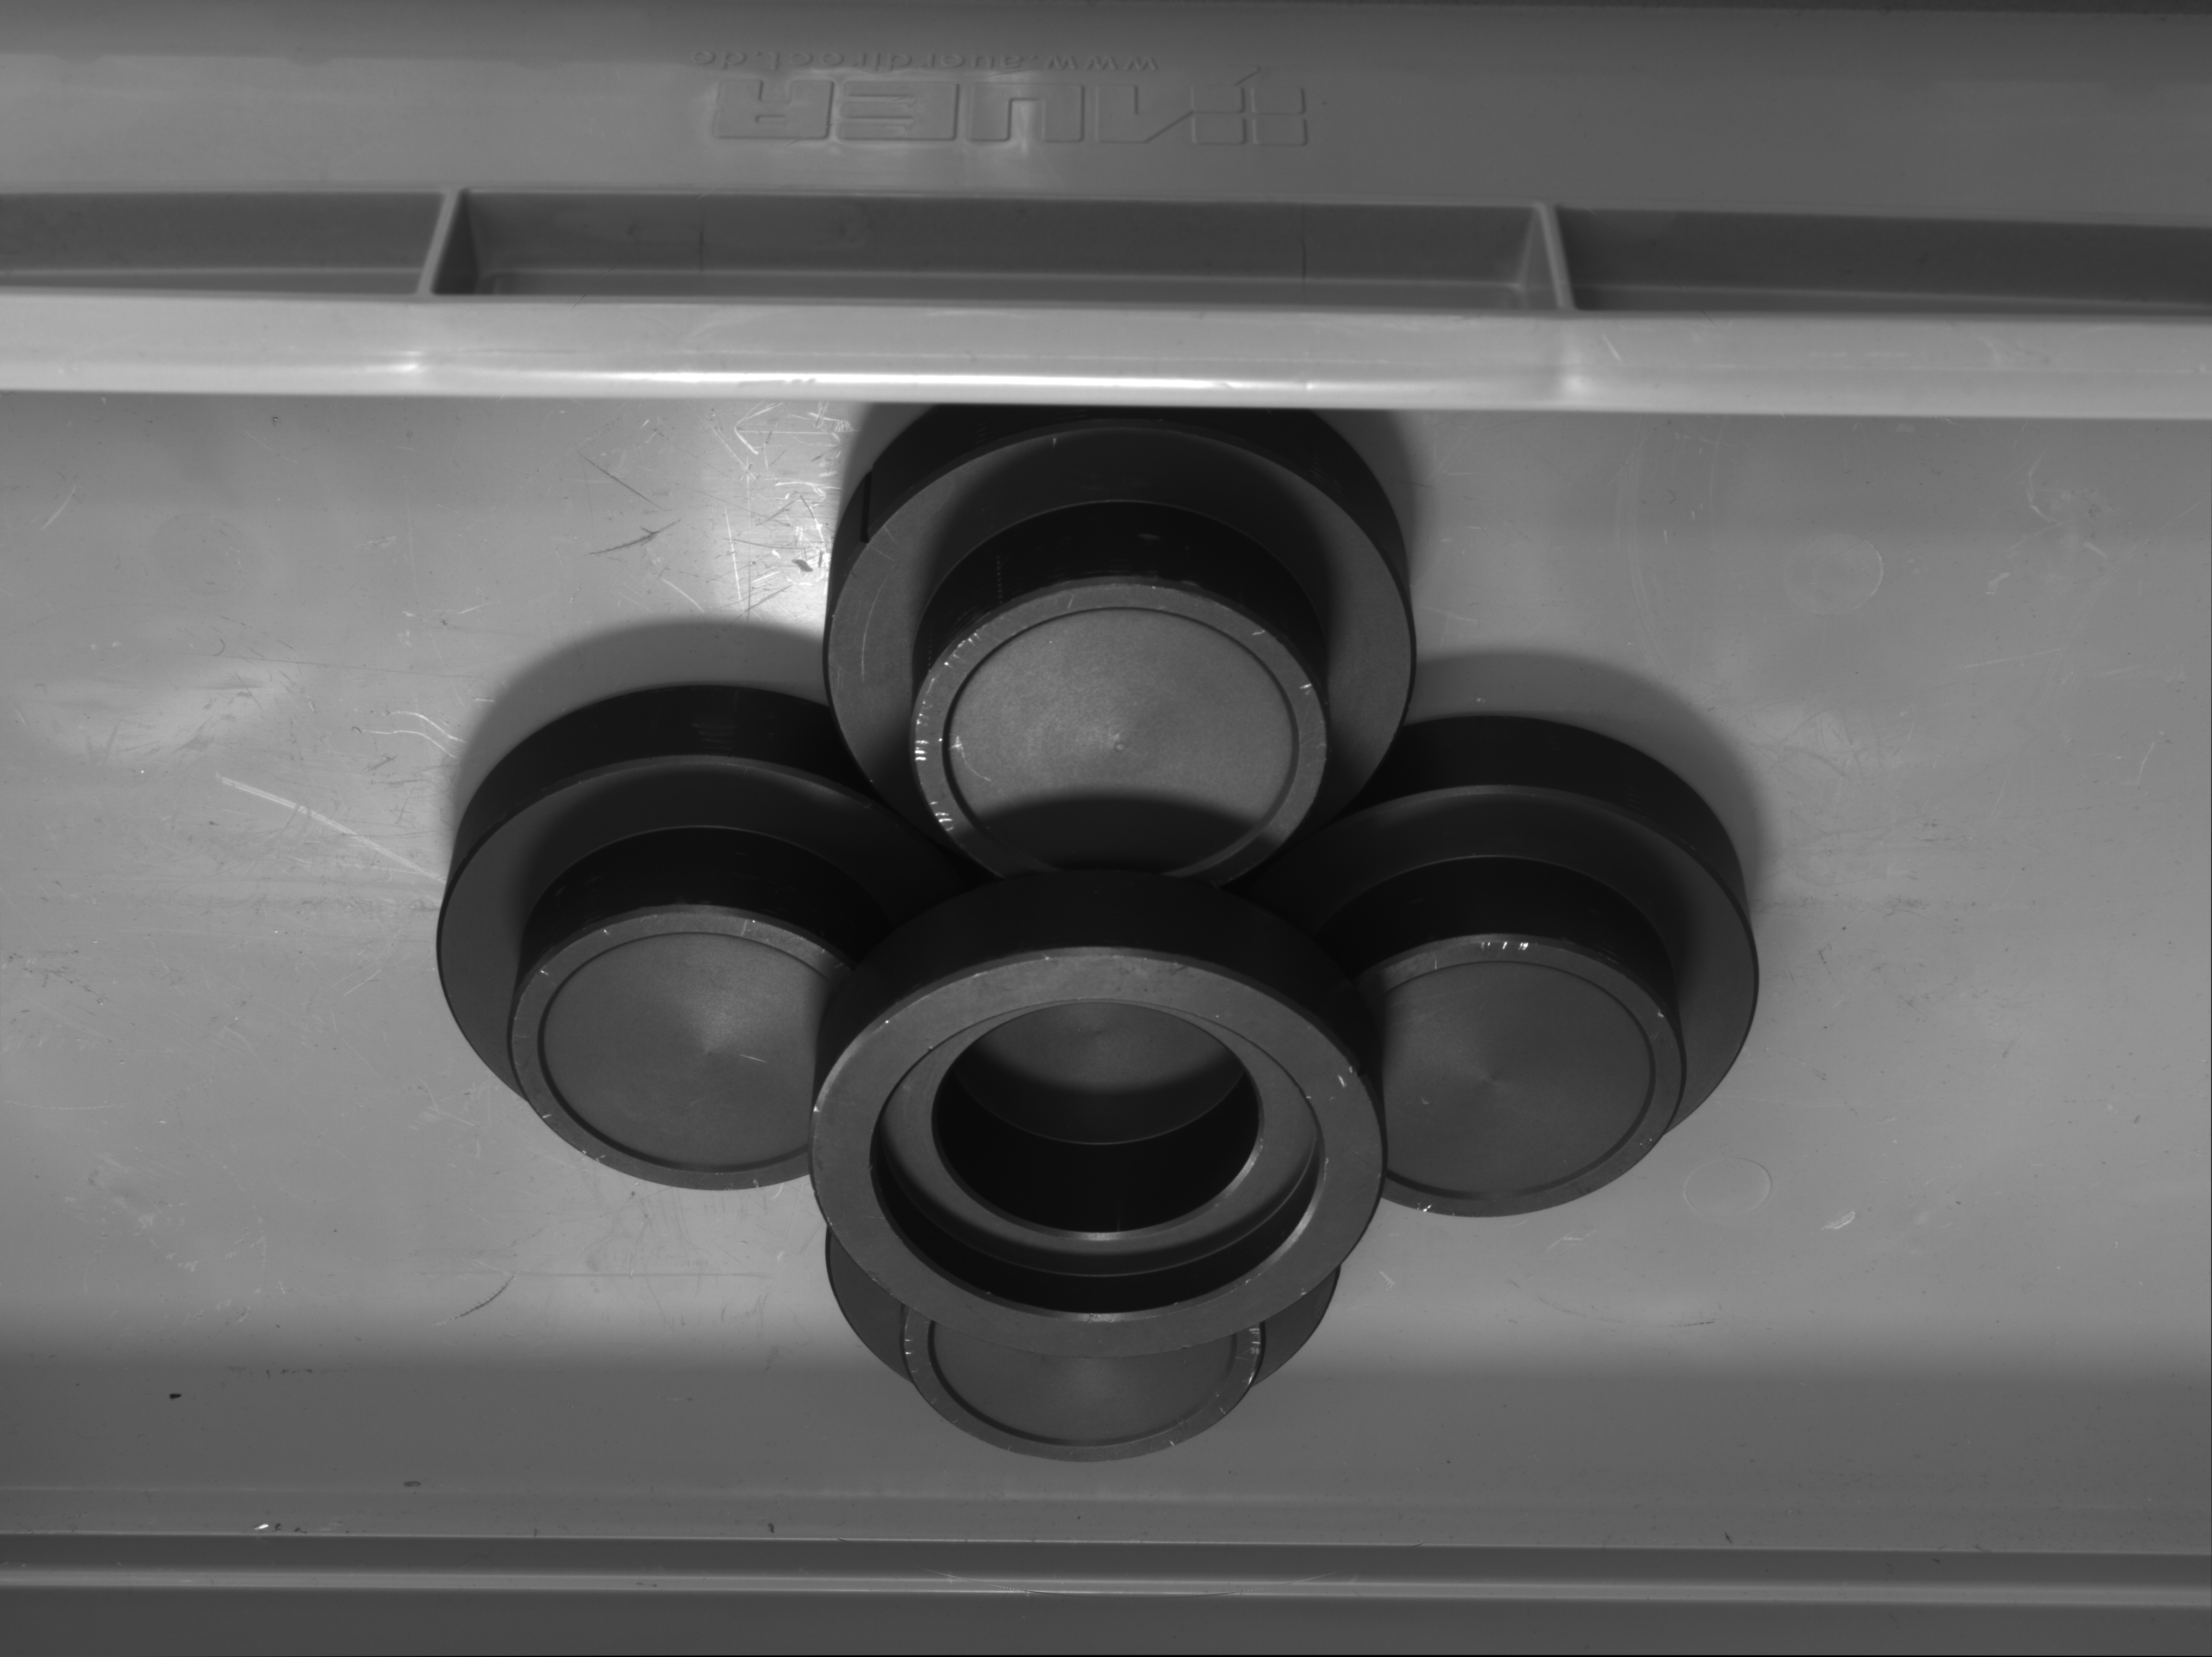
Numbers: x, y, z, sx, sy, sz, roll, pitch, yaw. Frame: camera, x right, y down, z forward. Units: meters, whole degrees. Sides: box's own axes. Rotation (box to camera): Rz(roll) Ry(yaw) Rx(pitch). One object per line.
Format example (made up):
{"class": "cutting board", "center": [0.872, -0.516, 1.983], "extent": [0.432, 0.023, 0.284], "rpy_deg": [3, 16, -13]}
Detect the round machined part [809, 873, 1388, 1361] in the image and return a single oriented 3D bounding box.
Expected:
{"class": "round machined part", "center": [-0.001, 0.044, 0.636], "extent": [0.098, 0.042, 0.098], "rpy_deg": [0, 130, 0]}

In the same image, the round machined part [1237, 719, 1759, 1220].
{"class": "round machined part", "center": [0.067, 0.031, 0.652], "extent": [0.098, 0.042, 0.098], "rpy_deg": [0, 130, 0]}

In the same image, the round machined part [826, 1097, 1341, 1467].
{"class": "round machined part", "center": [-0.004, 0.083, 0.695], "extent": [0.098, 0.042, 0.098], "rpy_deg": [-1, 128, -1]}

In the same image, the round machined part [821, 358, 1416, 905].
{"class": "round machined part", "center": [0.002, -0.025, 0.604], "extent": [0.098, 0.042, 0.098], "rpy_deg": [0, 130, 0]}

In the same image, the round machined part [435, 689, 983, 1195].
{"class": "round machined part", "center": [-0.069, 0.026, 0.647], "extent": [0.098, 0.042, 0.098], "rpy_deg": [0, 130, 0]}
